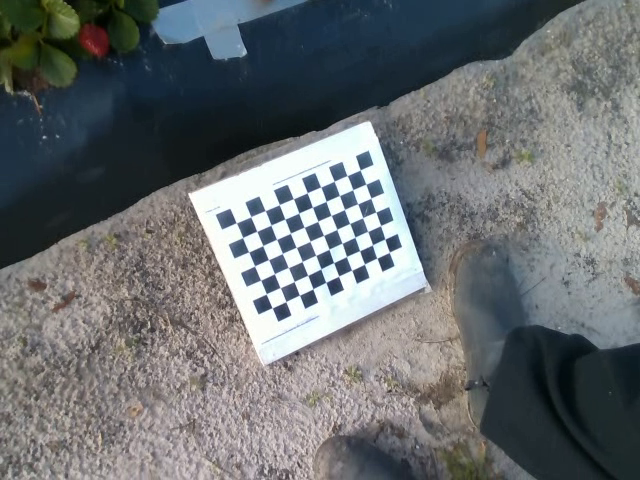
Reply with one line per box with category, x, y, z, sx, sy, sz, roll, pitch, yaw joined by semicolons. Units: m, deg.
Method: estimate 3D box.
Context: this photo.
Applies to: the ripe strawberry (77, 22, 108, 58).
ripe strawberry;-0.132;-0.121;0.441;0.018;0.023;0.021;-30;-16;1
